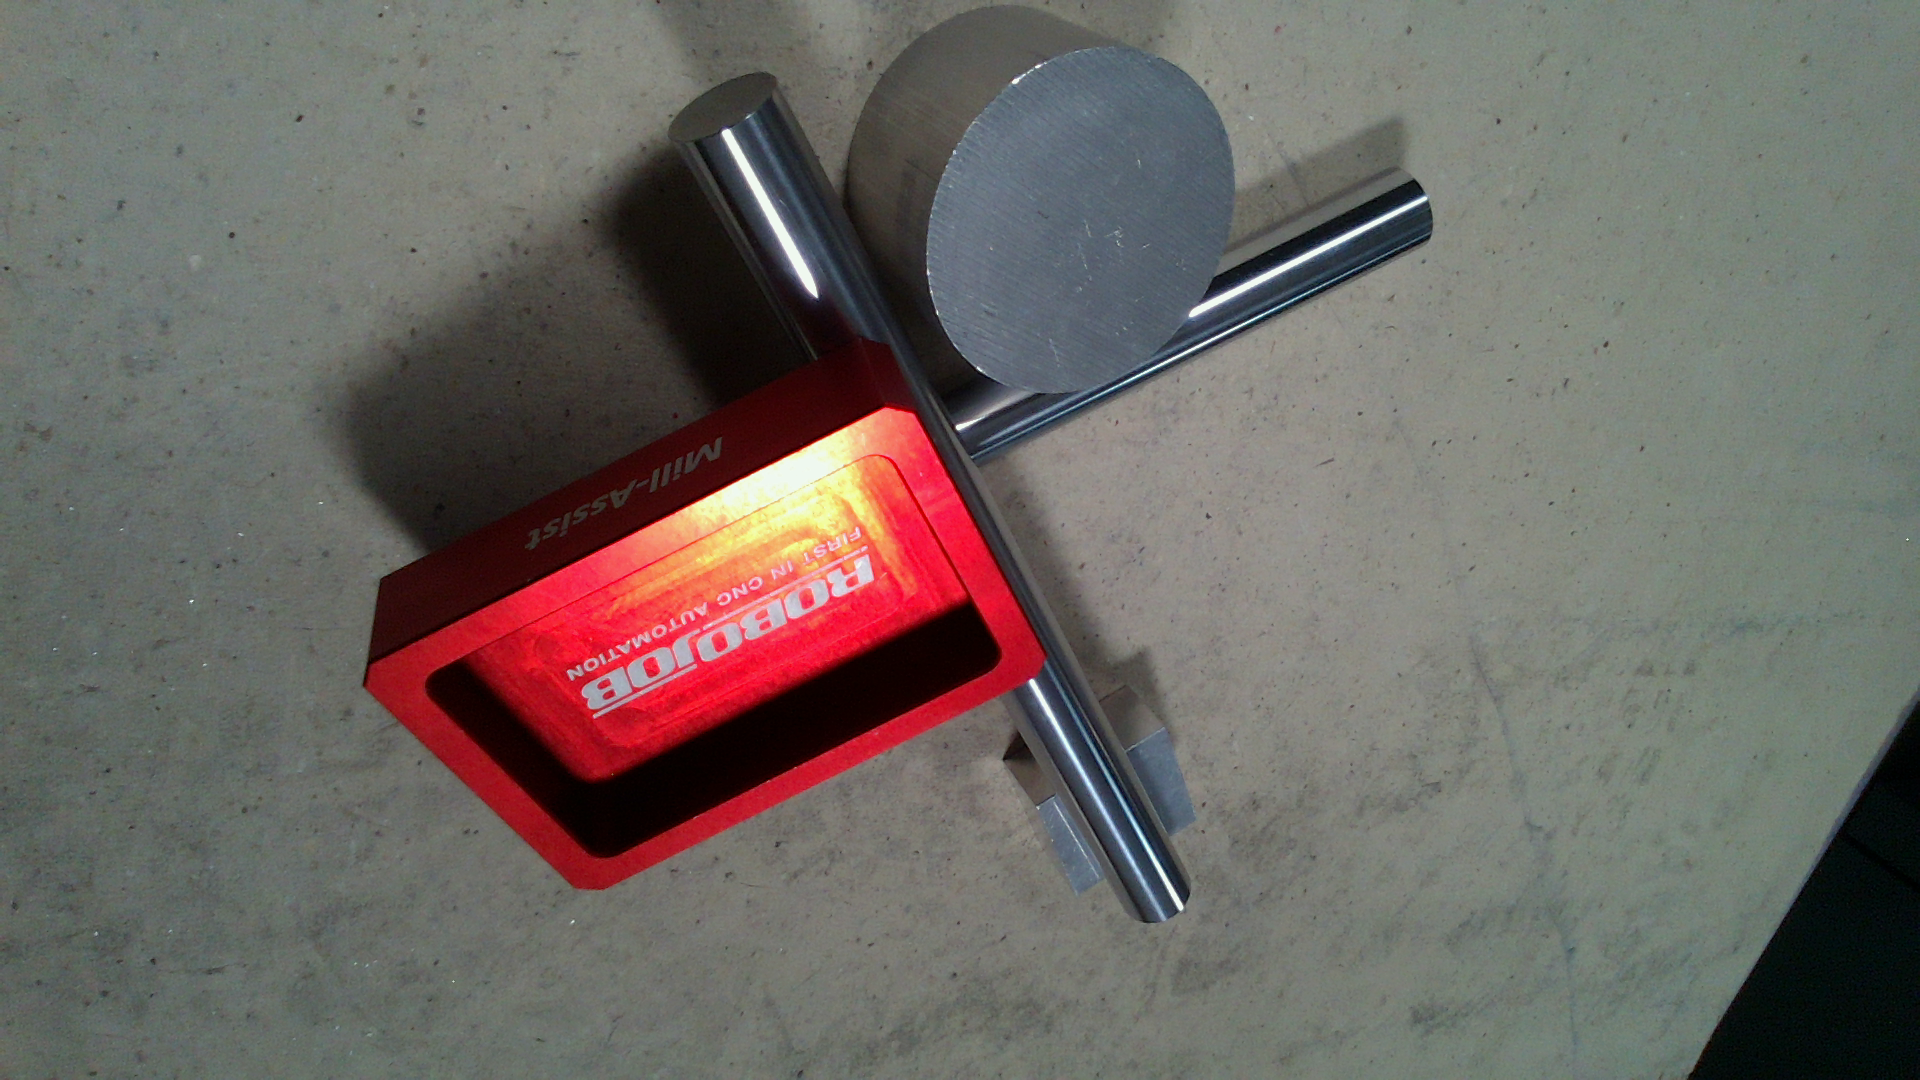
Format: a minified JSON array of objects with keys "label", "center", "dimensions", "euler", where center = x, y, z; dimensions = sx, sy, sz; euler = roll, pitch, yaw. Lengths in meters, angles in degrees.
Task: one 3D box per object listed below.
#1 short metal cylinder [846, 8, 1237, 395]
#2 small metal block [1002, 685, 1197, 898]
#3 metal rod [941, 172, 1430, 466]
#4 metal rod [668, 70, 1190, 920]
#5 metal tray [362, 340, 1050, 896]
[{"label":"short metal cylinder","center":[0.019,-0.082,0.332],"dimensions":[0.080,0.050,0.080],"euler":[-14,124,-21]},{"label":"small metal block","center":[0.048,0.086,0.467],"dimensions":[0.050,0.025,0.050],"euler":[-30,128,-9]},{"label":"metal rod","center":[-0.003,-0.029,0.370],"dimensions":[0.300,0.025,0.025],"euler":[-27,128,-12]},{"label":"metal rod","center":[0.009,0.015,0.372],"dimensions":[0.025,0.025,0.301],"euler":[-34,129,-6]},{"label":"metal tray","center":[-0.055,0.022,0.320],"dimensions":[0.130,0.030,0.090],"euler":[-27,128,3]}]
